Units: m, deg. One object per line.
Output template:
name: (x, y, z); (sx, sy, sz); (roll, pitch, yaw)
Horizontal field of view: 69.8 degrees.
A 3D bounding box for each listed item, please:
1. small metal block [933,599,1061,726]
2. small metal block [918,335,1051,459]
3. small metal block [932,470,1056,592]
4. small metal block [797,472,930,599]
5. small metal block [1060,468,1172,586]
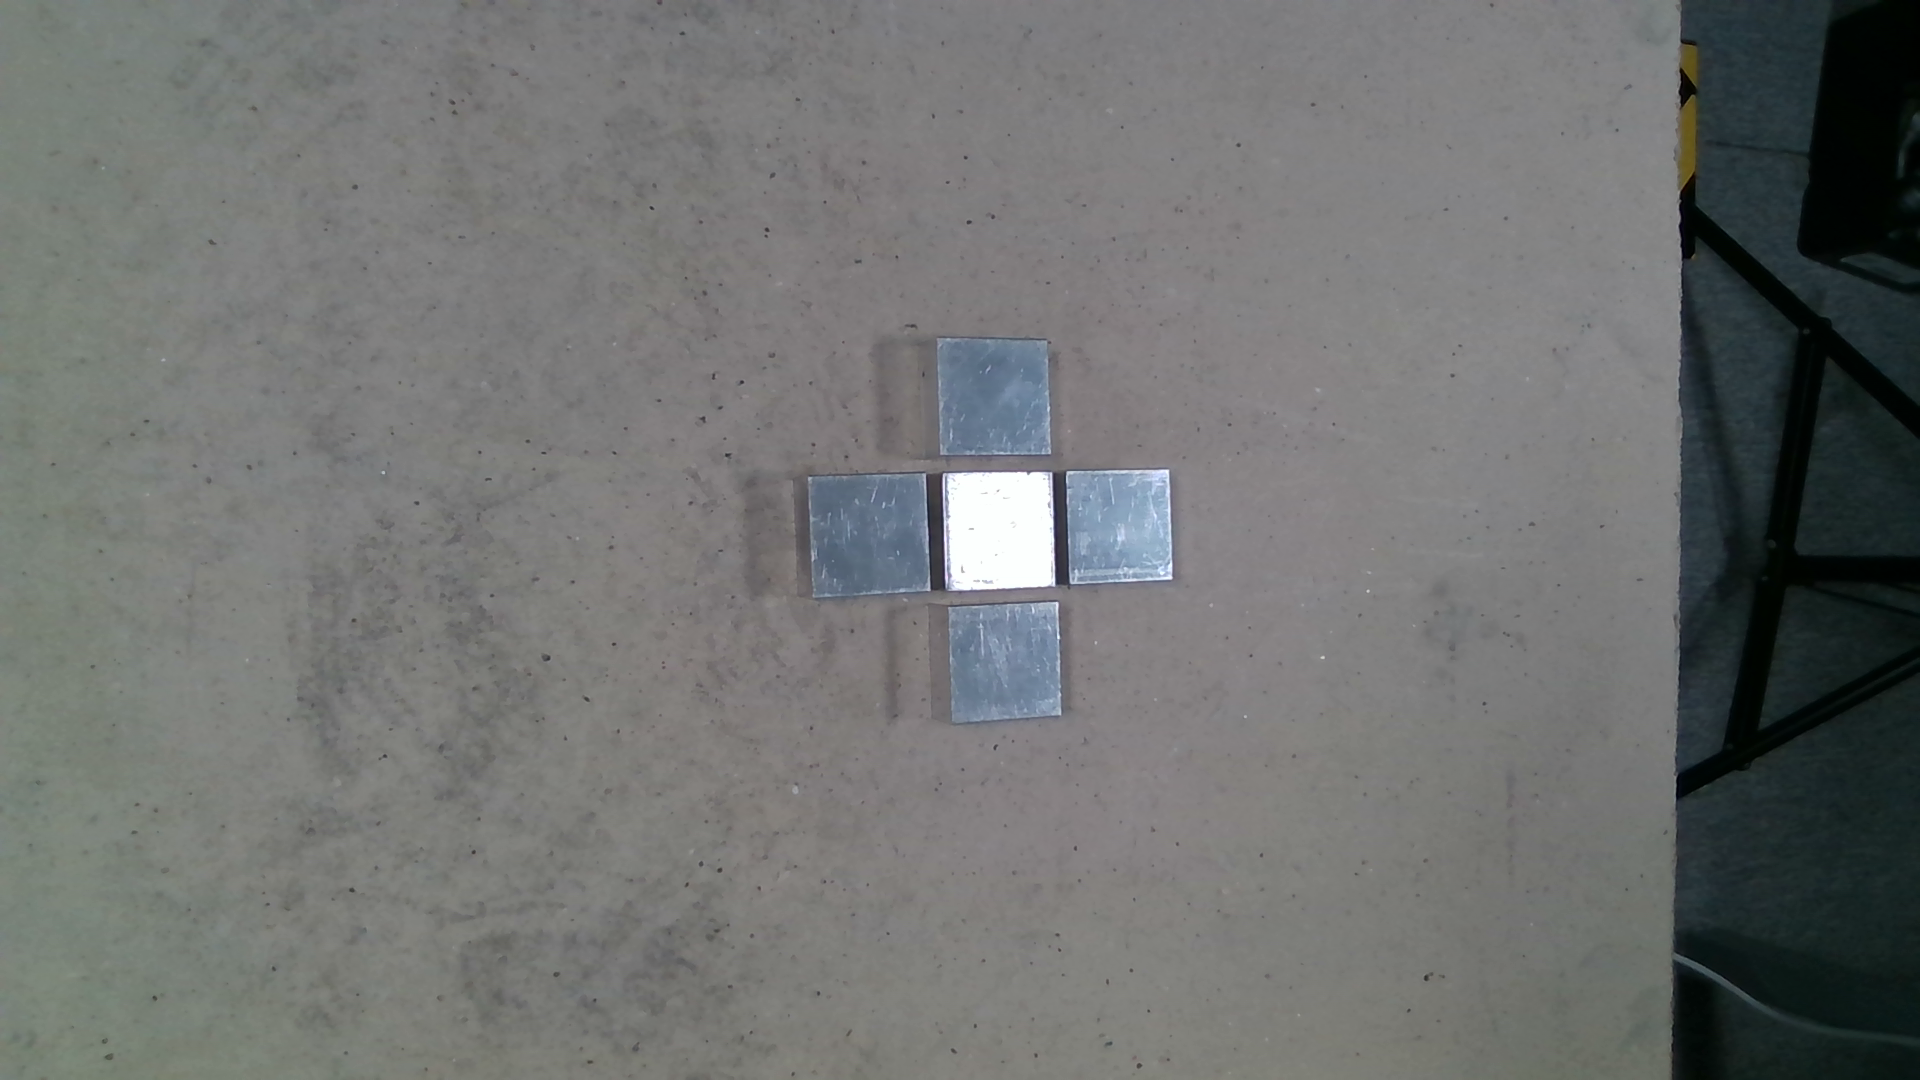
small metal block: (0.015, 0.052, 0.592); (0.050, 0.025, 0.050); (-2, 91, -20)
small metal block: (0.010, -0.061, 0.590); (0.050, 0.025, 0.050); (-2, 91, -20)
small metal block: (0.013, -0.004, 0.591); (0.050, 0.025, 0.050); (-2, 91, -20)
small metal block: (-0.041, -0.002, 0.571); (0.050, 0.025, 0.050); (-2, 91, -20)
small metal block: (0.065, -0.006, 0.610); (0.050, 0.025, 0.050); (-2, 91, -20)
